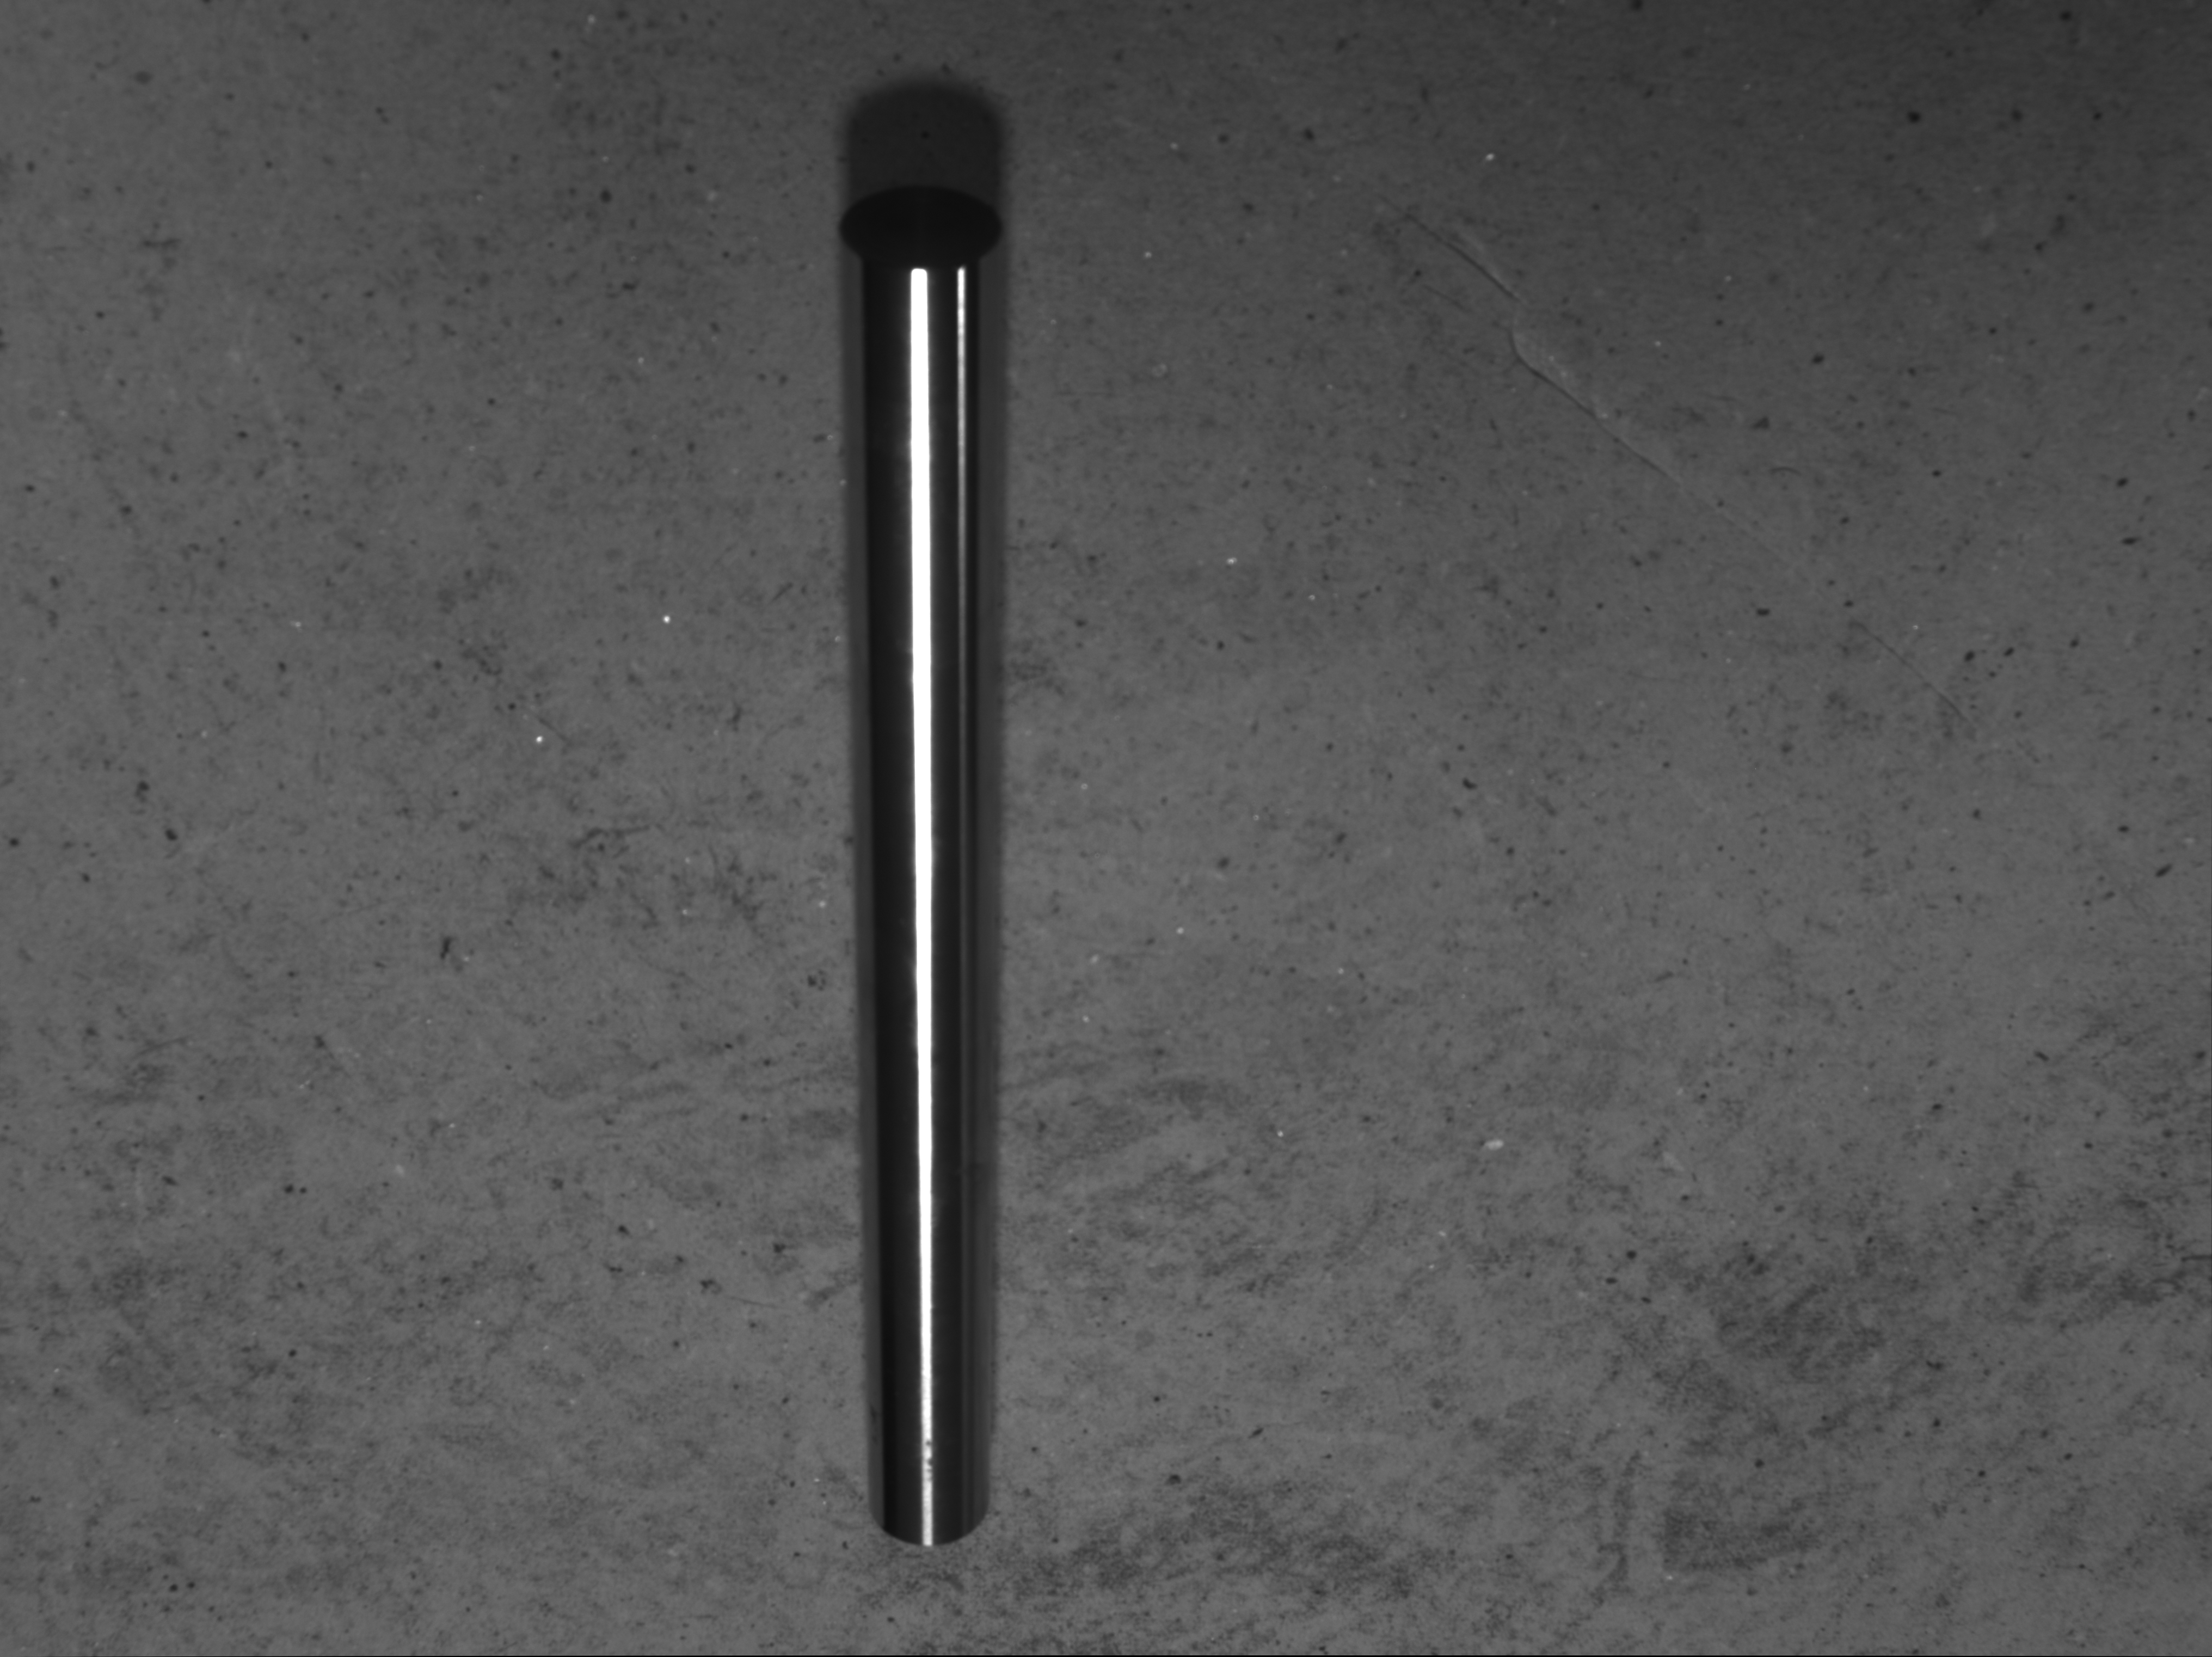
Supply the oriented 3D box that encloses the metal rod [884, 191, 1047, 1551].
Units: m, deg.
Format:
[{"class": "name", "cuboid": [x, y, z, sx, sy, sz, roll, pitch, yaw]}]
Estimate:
[{"class": "metal rod", "cuboid": [-0.025, 0.024, 0.657, 0.025, 0.025, 0.300, 0, 130, -2]}]
